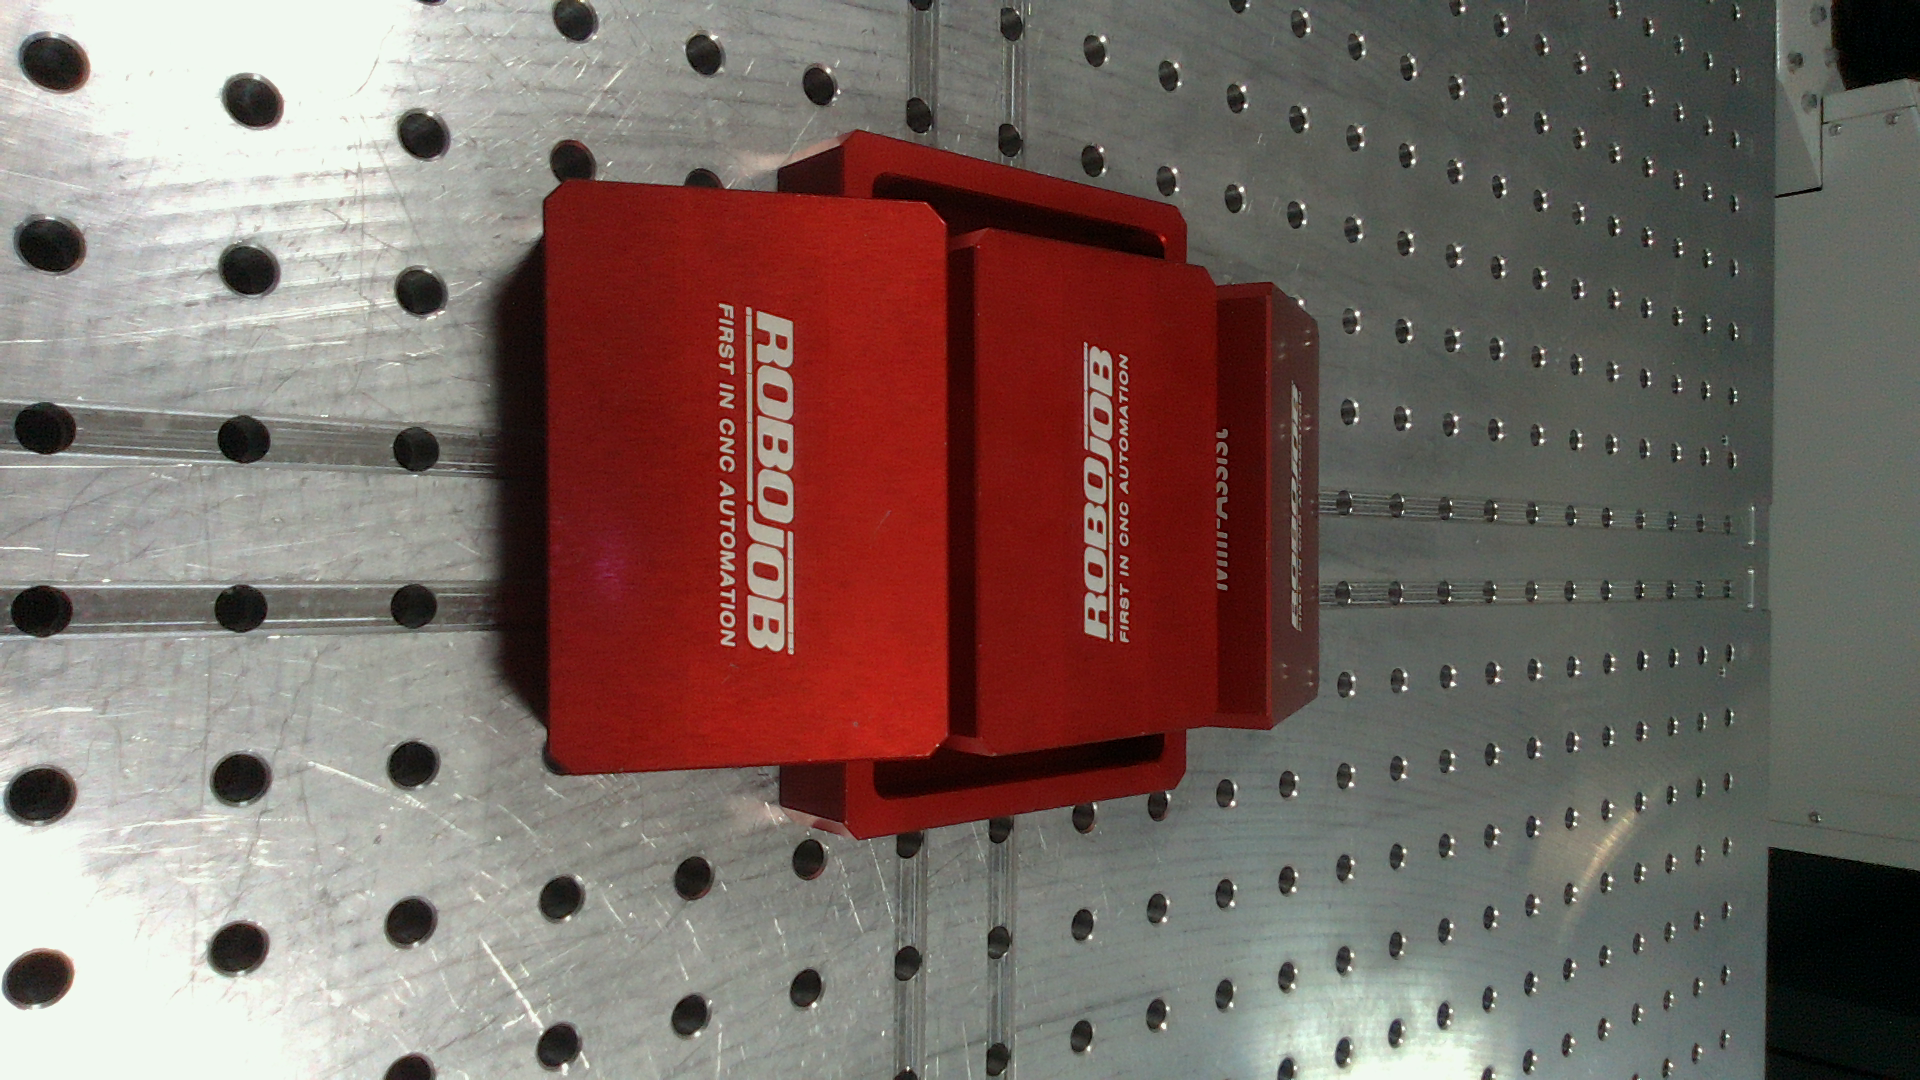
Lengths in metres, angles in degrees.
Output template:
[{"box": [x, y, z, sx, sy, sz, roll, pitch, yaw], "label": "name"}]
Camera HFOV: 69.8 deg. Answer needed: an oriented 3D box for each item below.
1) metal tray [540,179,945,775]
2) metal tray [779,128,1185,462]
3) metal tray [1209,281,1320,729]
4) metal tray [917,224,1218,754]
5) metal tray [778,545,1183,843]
[{"box": [-0.051, -0.014, 0.323, 0.090, 0.030, 0.130, 0, 90, -14], "label": "metal tray"}, {"box": [0.011, -0.059, 0.397, 0.131, 0.030, 0.090, 0, 90, -40], "label": "metal tray"}, {"box": [0.093, -0.011, 0.442, 0.090, 0.030, 0.130, -2, 91, -67], "label": "metal tray"}, {"box": [0.029, -0.013, 0.374, 0.090, 0.030, 0.130, -1, 90, -40], "label": "metal tray"}, {"box": [0.011, 0.032, 0.398, 0.131, 0.030, 0.090, 0, 90, -40], "label": "metal tray"}]
